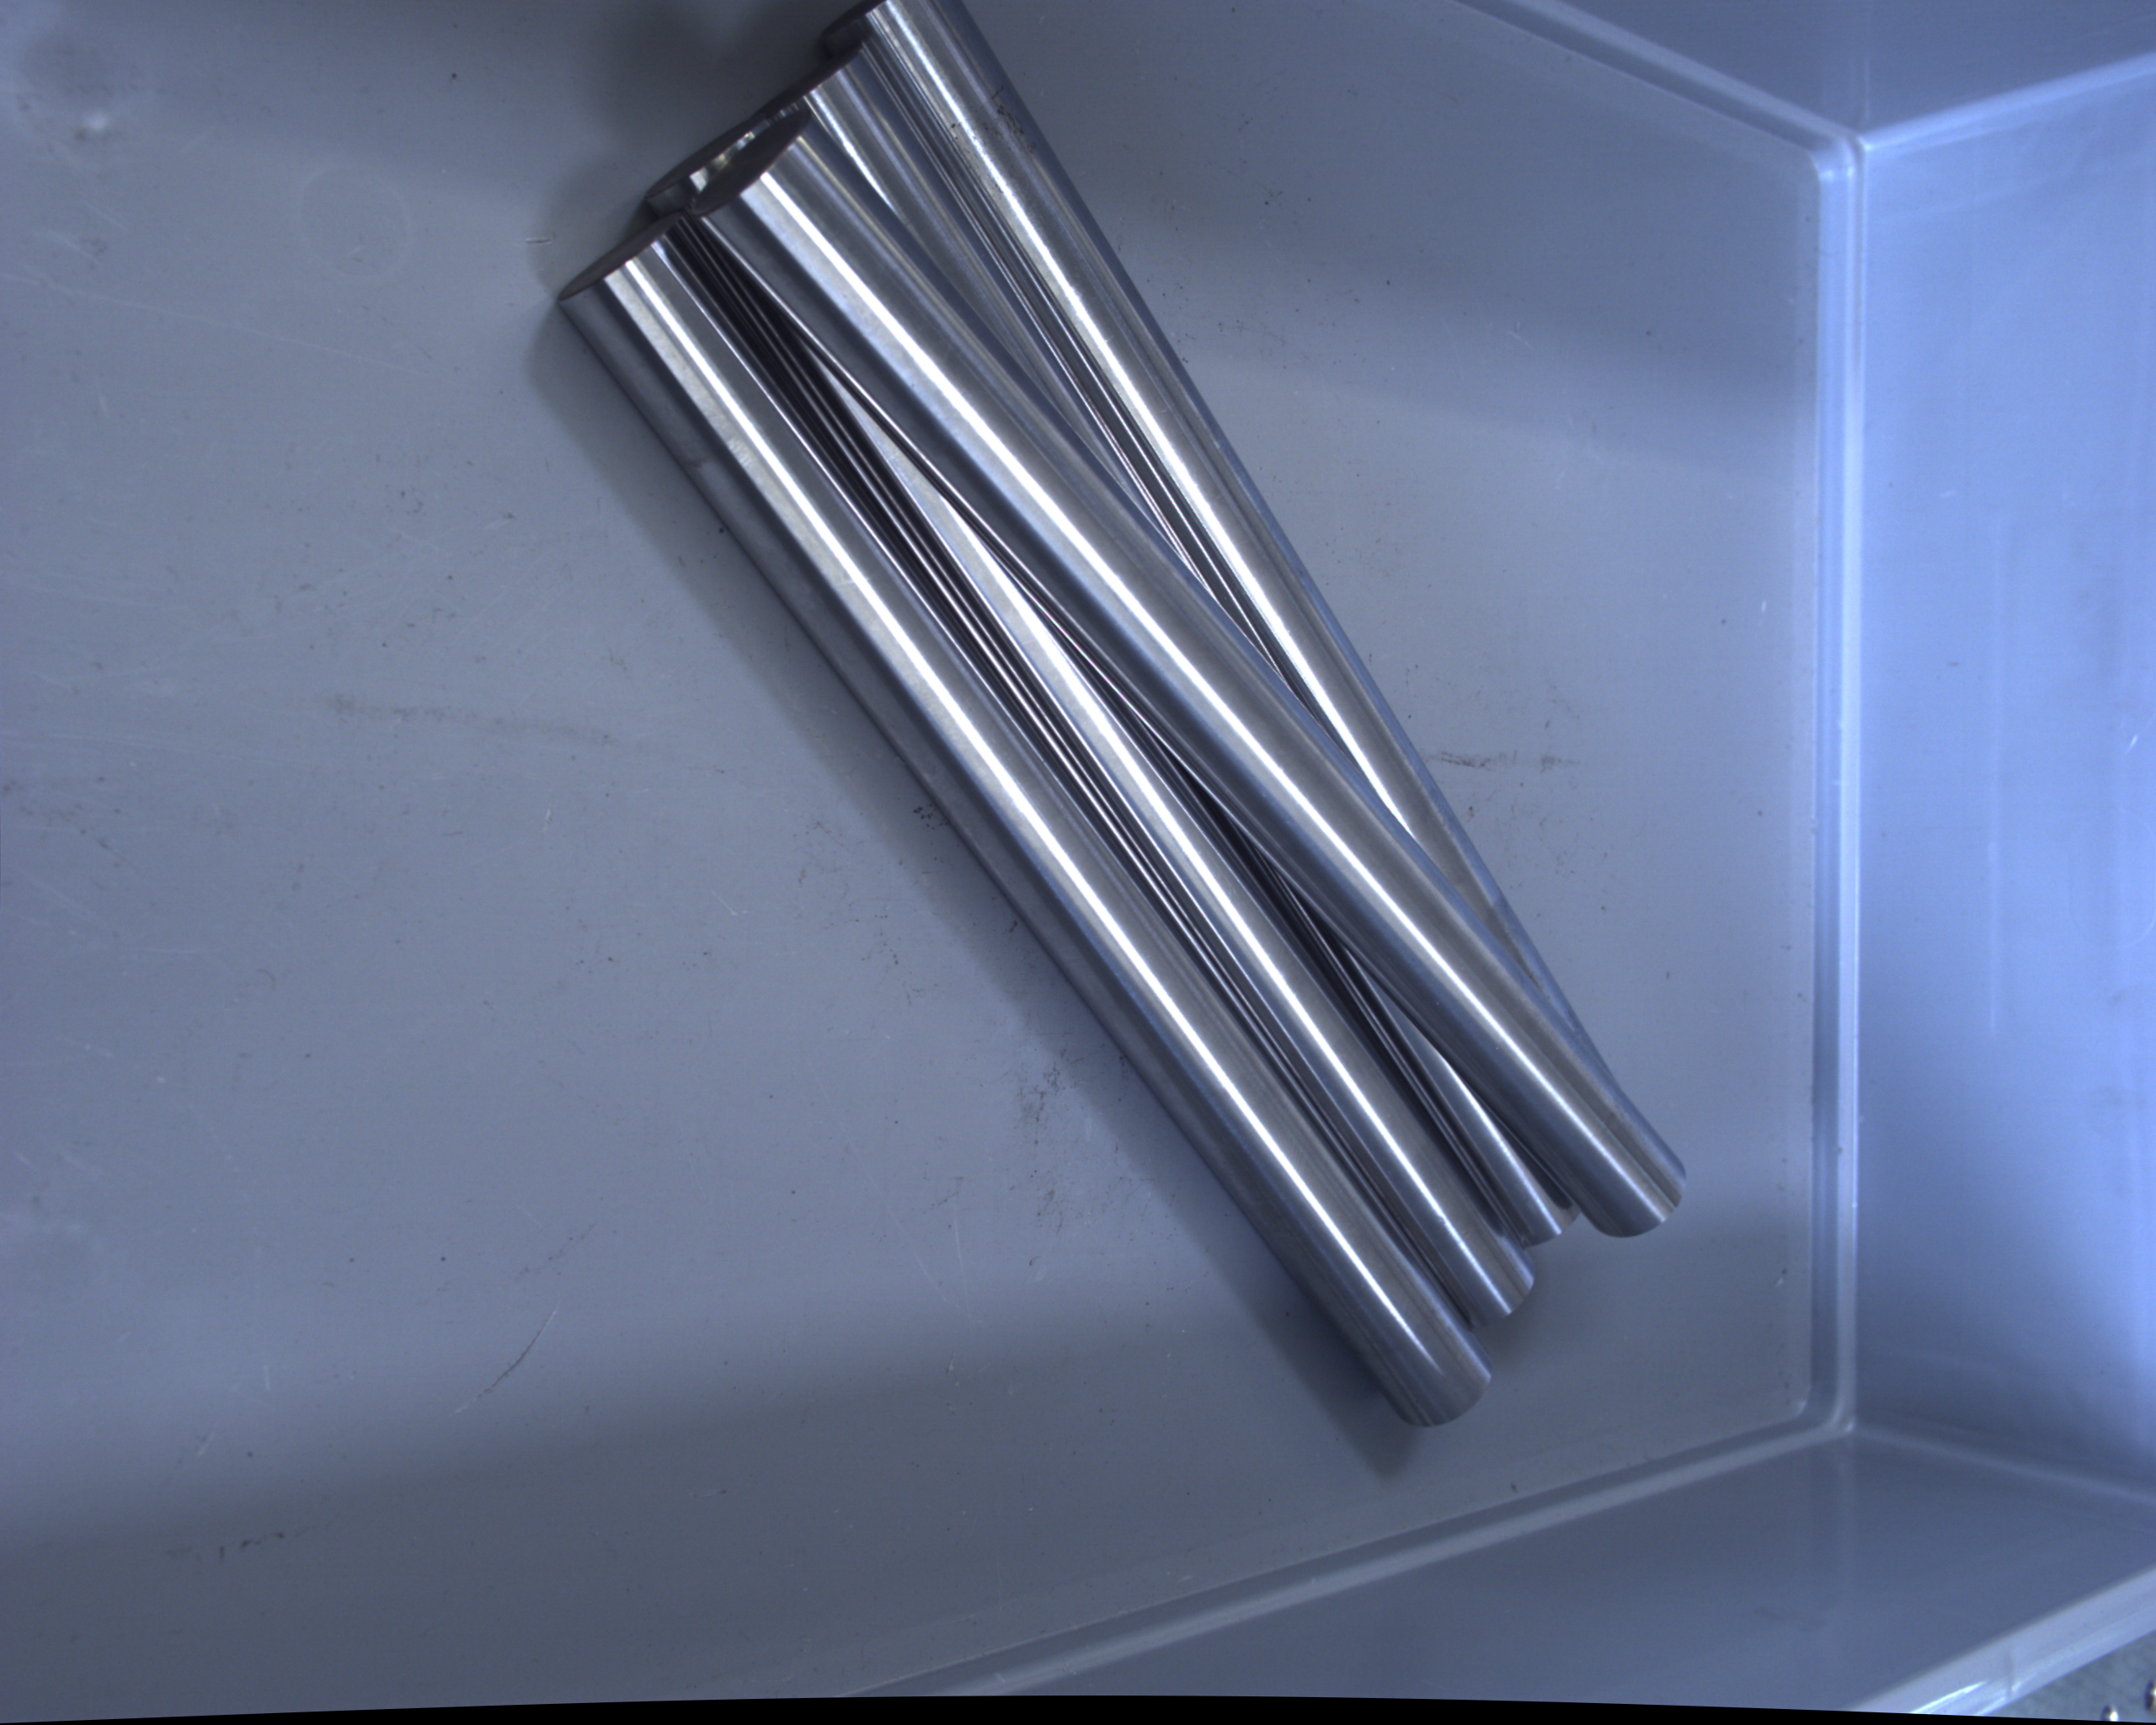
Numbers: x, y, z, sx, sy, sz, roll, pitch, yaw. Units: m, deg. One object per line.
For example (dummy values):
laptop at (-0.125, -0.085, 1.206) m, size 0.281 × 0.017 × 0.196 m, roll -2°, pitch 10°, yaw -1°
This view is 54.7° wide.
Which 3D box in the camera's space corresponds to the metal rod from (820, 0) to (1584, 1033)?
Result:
metal rod at (0.043, -0.046, 0.440) m, size 0.025 × 0.025 × 0.300 m, roll -51°, pitch 120°, yaw -28°

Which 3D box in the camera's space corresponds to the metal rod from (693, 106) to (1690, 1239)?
metal rod at (0.039, -0.017, 0.404) m, size 0.300 × 0.025 × 0.025 m, roll 46°, pitch 63°, yaw -30°

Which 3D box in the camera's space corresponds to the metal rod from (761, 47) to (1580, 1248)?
metal rod at (0.030, -0.026, 0.430) m, size 0.025 × 0.025 × 0.300 m, roll -51°, pitch 120°, yaw -28°

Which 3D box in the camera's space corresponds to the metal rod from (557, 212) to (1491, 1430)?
metal rod at (0.004, 0.010, 0.408) m, size 0.025 × 0.025 × 0.300 m, roll -51°, pitch 120°, yaw -28°

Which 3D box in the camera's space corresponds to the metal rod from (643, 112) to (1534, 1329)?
metal rod at (0.016, -0.010, 0.418) m, size 0.025 × 0.025 × 0.300 m, roll -51°, pitch 120°, yaw -28°
